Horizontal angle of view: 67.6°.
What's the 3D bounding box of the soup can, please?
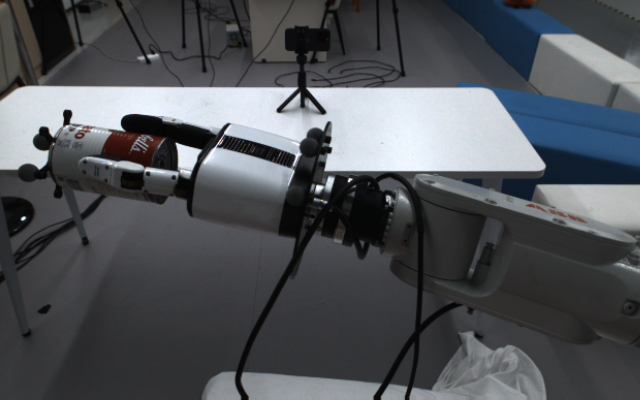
[{"bbox_3d":[-0.201,-0.035,0.485,0.101,0.067,0.067,9,35,2],"label":"soup can"}]
